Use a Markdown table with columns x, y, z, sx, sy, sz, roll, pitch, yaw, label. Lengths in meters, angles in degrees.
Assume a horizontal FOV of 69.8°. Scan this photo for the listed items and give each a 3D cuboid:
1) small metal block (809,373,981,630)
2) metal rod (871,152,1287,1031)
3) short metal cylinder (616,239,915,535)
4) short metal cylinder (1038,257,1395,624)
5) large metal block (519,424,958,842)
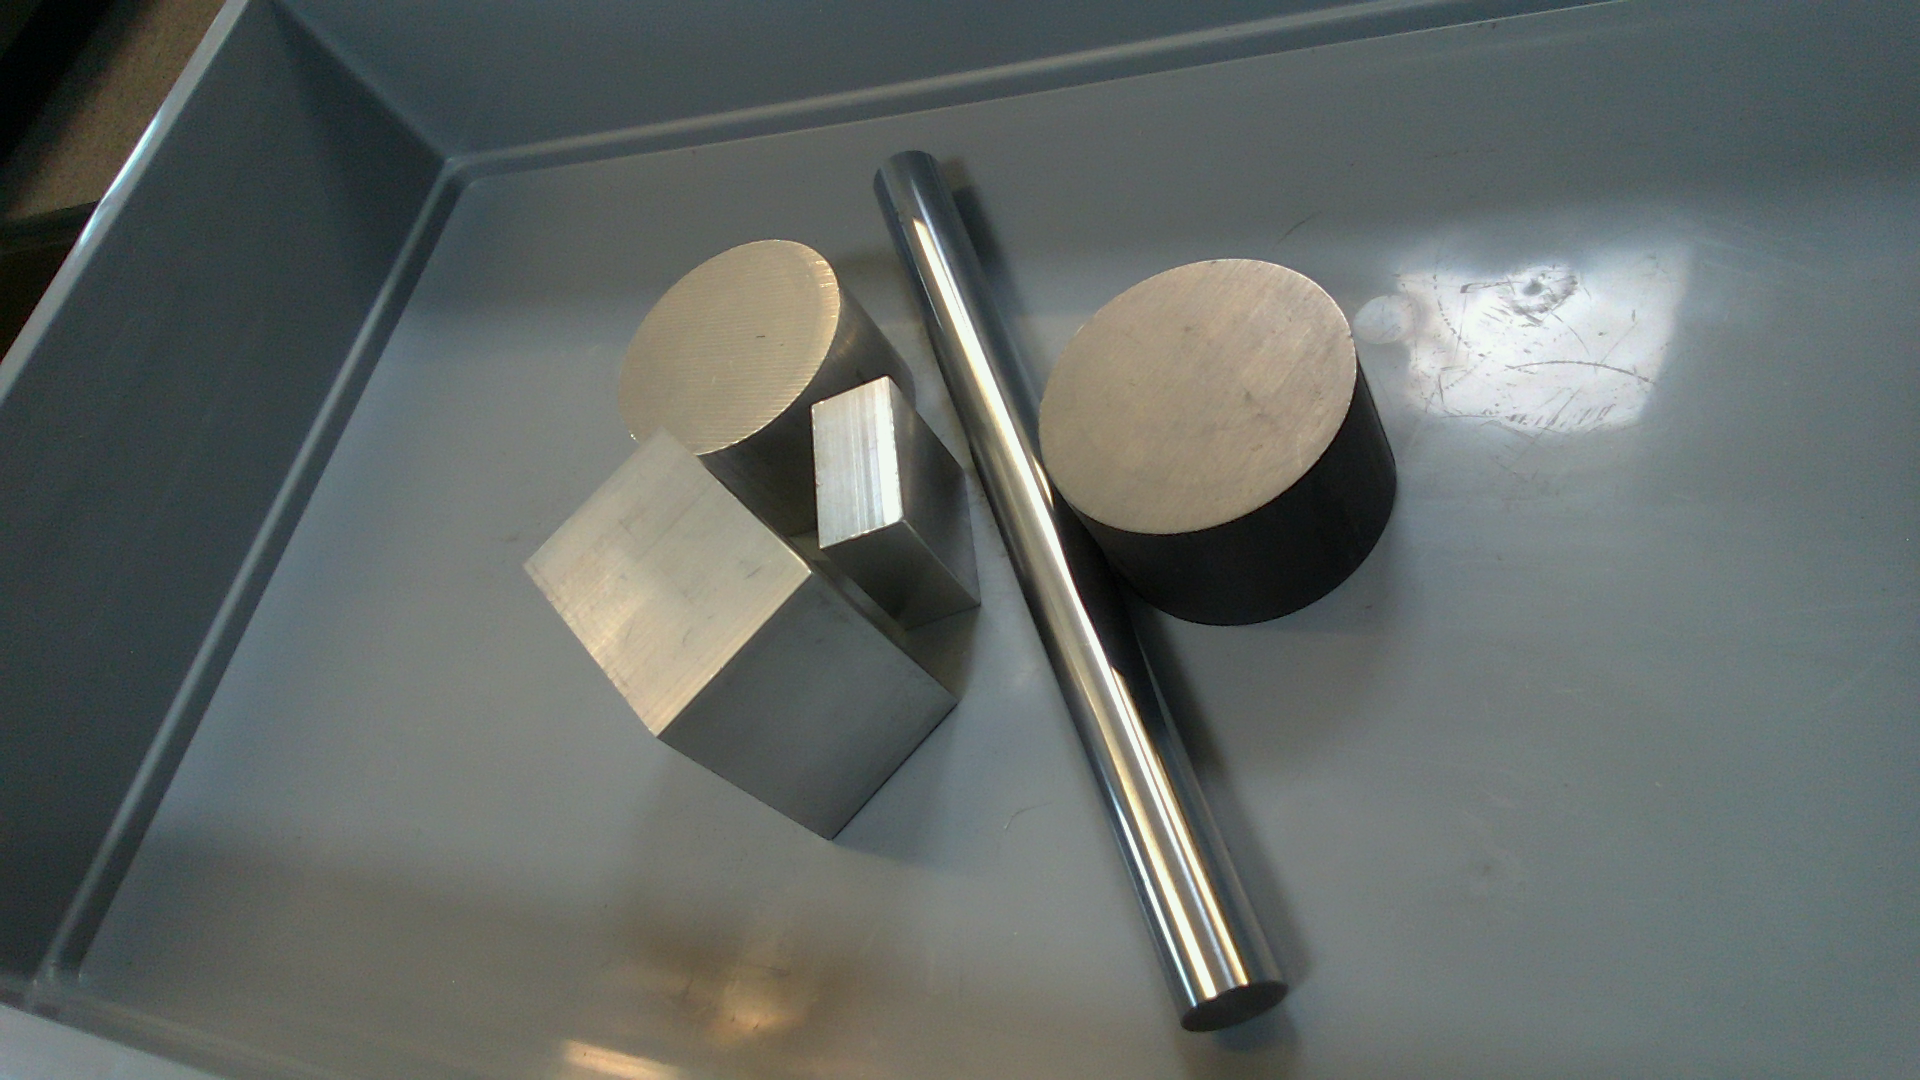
| x | y | z | sx | sy | sz | roll | pitch | yaw | label |
| --- | --- | --- | --- | --- | --- | --- | --- | --- | --- |
| -0.018 | -0.010 | 0.392 | 0.025 | 0.050 | 0.050 | -20 | 54 | 17 | small metal block |
| 0.020 | -0.012 | 0.388 | 0.025 | 0.025 | 0.300 | -28 | 52 | 11 | metal rod |
| -0.061 | -0.048 | 0.439 | 0.080 | 0.050 | 0.080 | -13 | 56 | 21 | short metal cylinder |
| 0.067 | -0.025 | 0.355 | 0.080 | 0.050 | 0.080 | -13 | 56 | 21 | short metal cylinder |
| -0.059 | 0.026 | 0.371 | 0.050 | 0.080 | 0.080 | -47 | 50 | -4 | large metal block |
